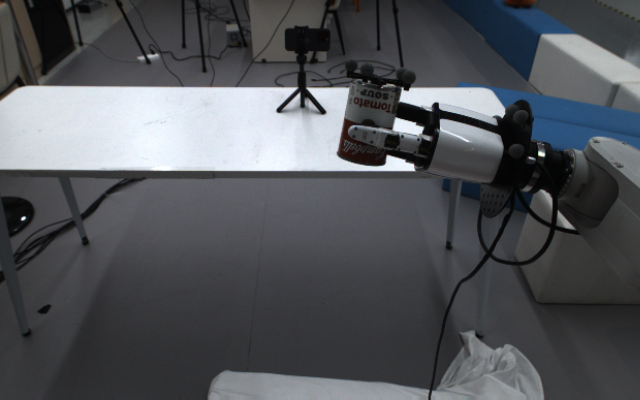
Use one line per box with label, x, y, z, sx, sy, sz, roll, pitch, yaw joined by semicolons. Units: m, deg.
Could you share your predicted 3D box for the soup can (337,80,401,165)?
soup can;0.065;-0.105;0.640;0.067;0.101;0.067;9;20;-3
